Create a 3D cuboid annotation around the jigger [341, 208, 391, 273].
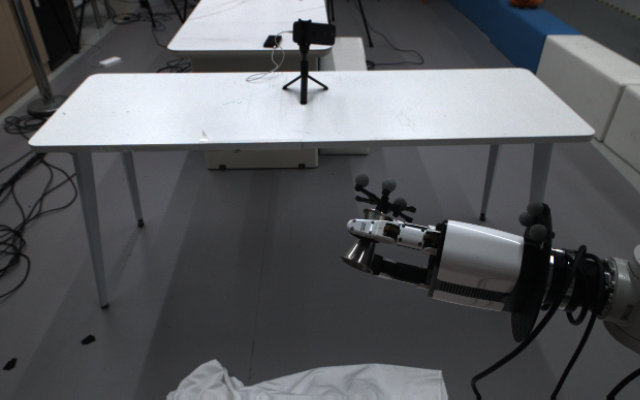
[{"bbox_3d":[0.057,0.047,0.583,0.043,0.043,0.071,20,73,24],"label":"jigger"}]
